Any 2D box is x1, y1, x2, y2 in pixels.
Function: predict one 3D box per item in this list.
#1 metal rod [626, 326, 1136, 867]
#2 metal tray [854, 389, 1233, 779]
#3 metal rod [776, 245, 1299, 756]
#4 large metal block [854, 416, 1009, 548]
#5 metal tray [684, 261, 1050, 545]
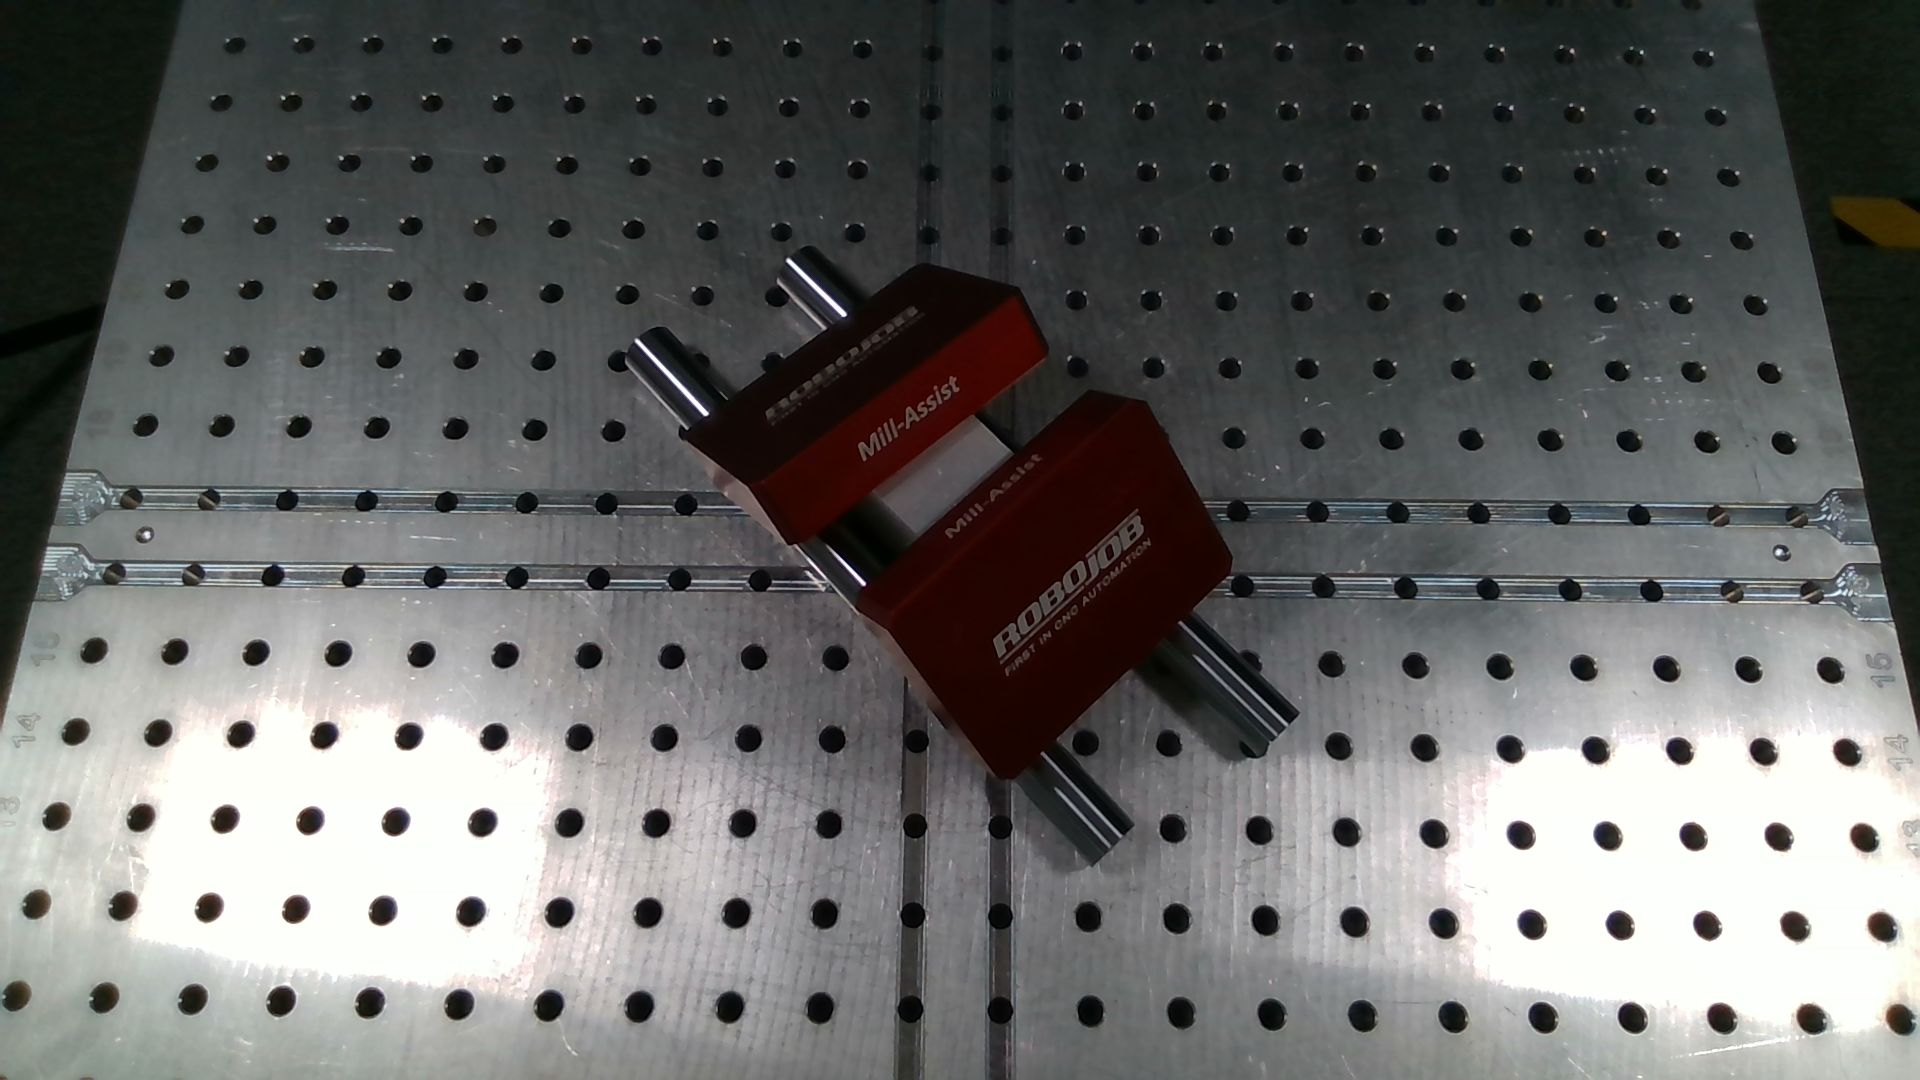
[{"bbox_3d":[-0.040,0.017,0.585,0.025,0.025,0.300,-41,75,-13],"label":"metal rod"},{"bbox_3d":[0.035,0.016,0.527,0.130,0.030,0.090,-41,119,-13],"label":"metal tray"},{"bbox_3d":[0.027,-0.023,0.599,0.025,0.025,0.300,-41,75,-13],"label":"metal rod"},{"bbox_3d":[0.000,-0.007,0.563,0.050,0.080,0.080,-41,75,-13],"label":"large metal block"},{"bbox_3d":[-0.039,-0.059,0.554,0.130,0.030,0.090,-38,31,-12],"label":"metal tray"}]
